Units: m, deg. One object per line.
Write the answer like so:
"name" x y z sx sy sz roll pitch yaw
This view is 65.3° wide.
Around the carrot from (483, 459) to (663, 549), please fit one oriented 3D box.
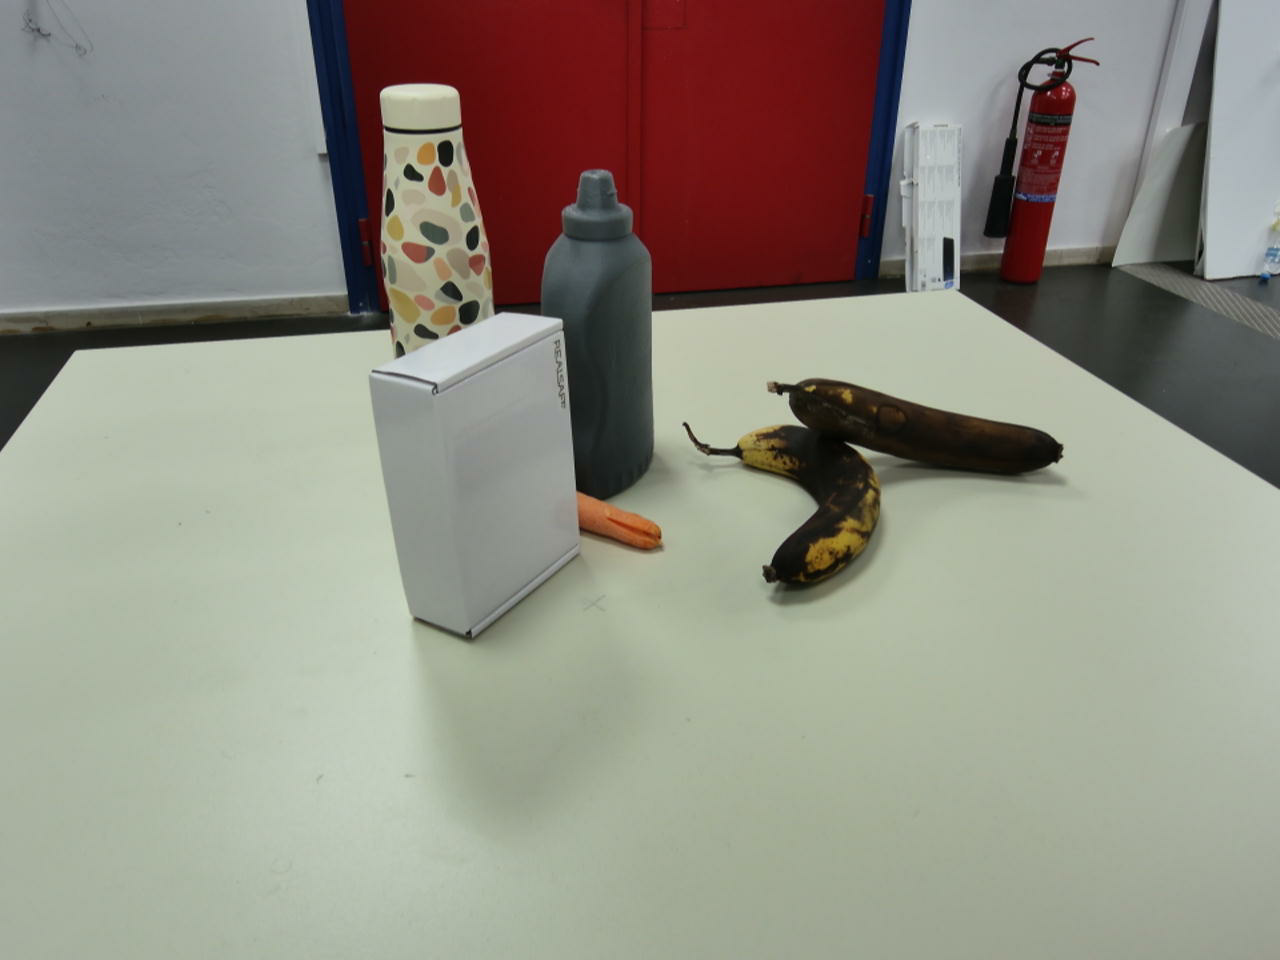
"carrot" -0.045 0.015 0.637 0.136 0.032 0.030 16 31 29
